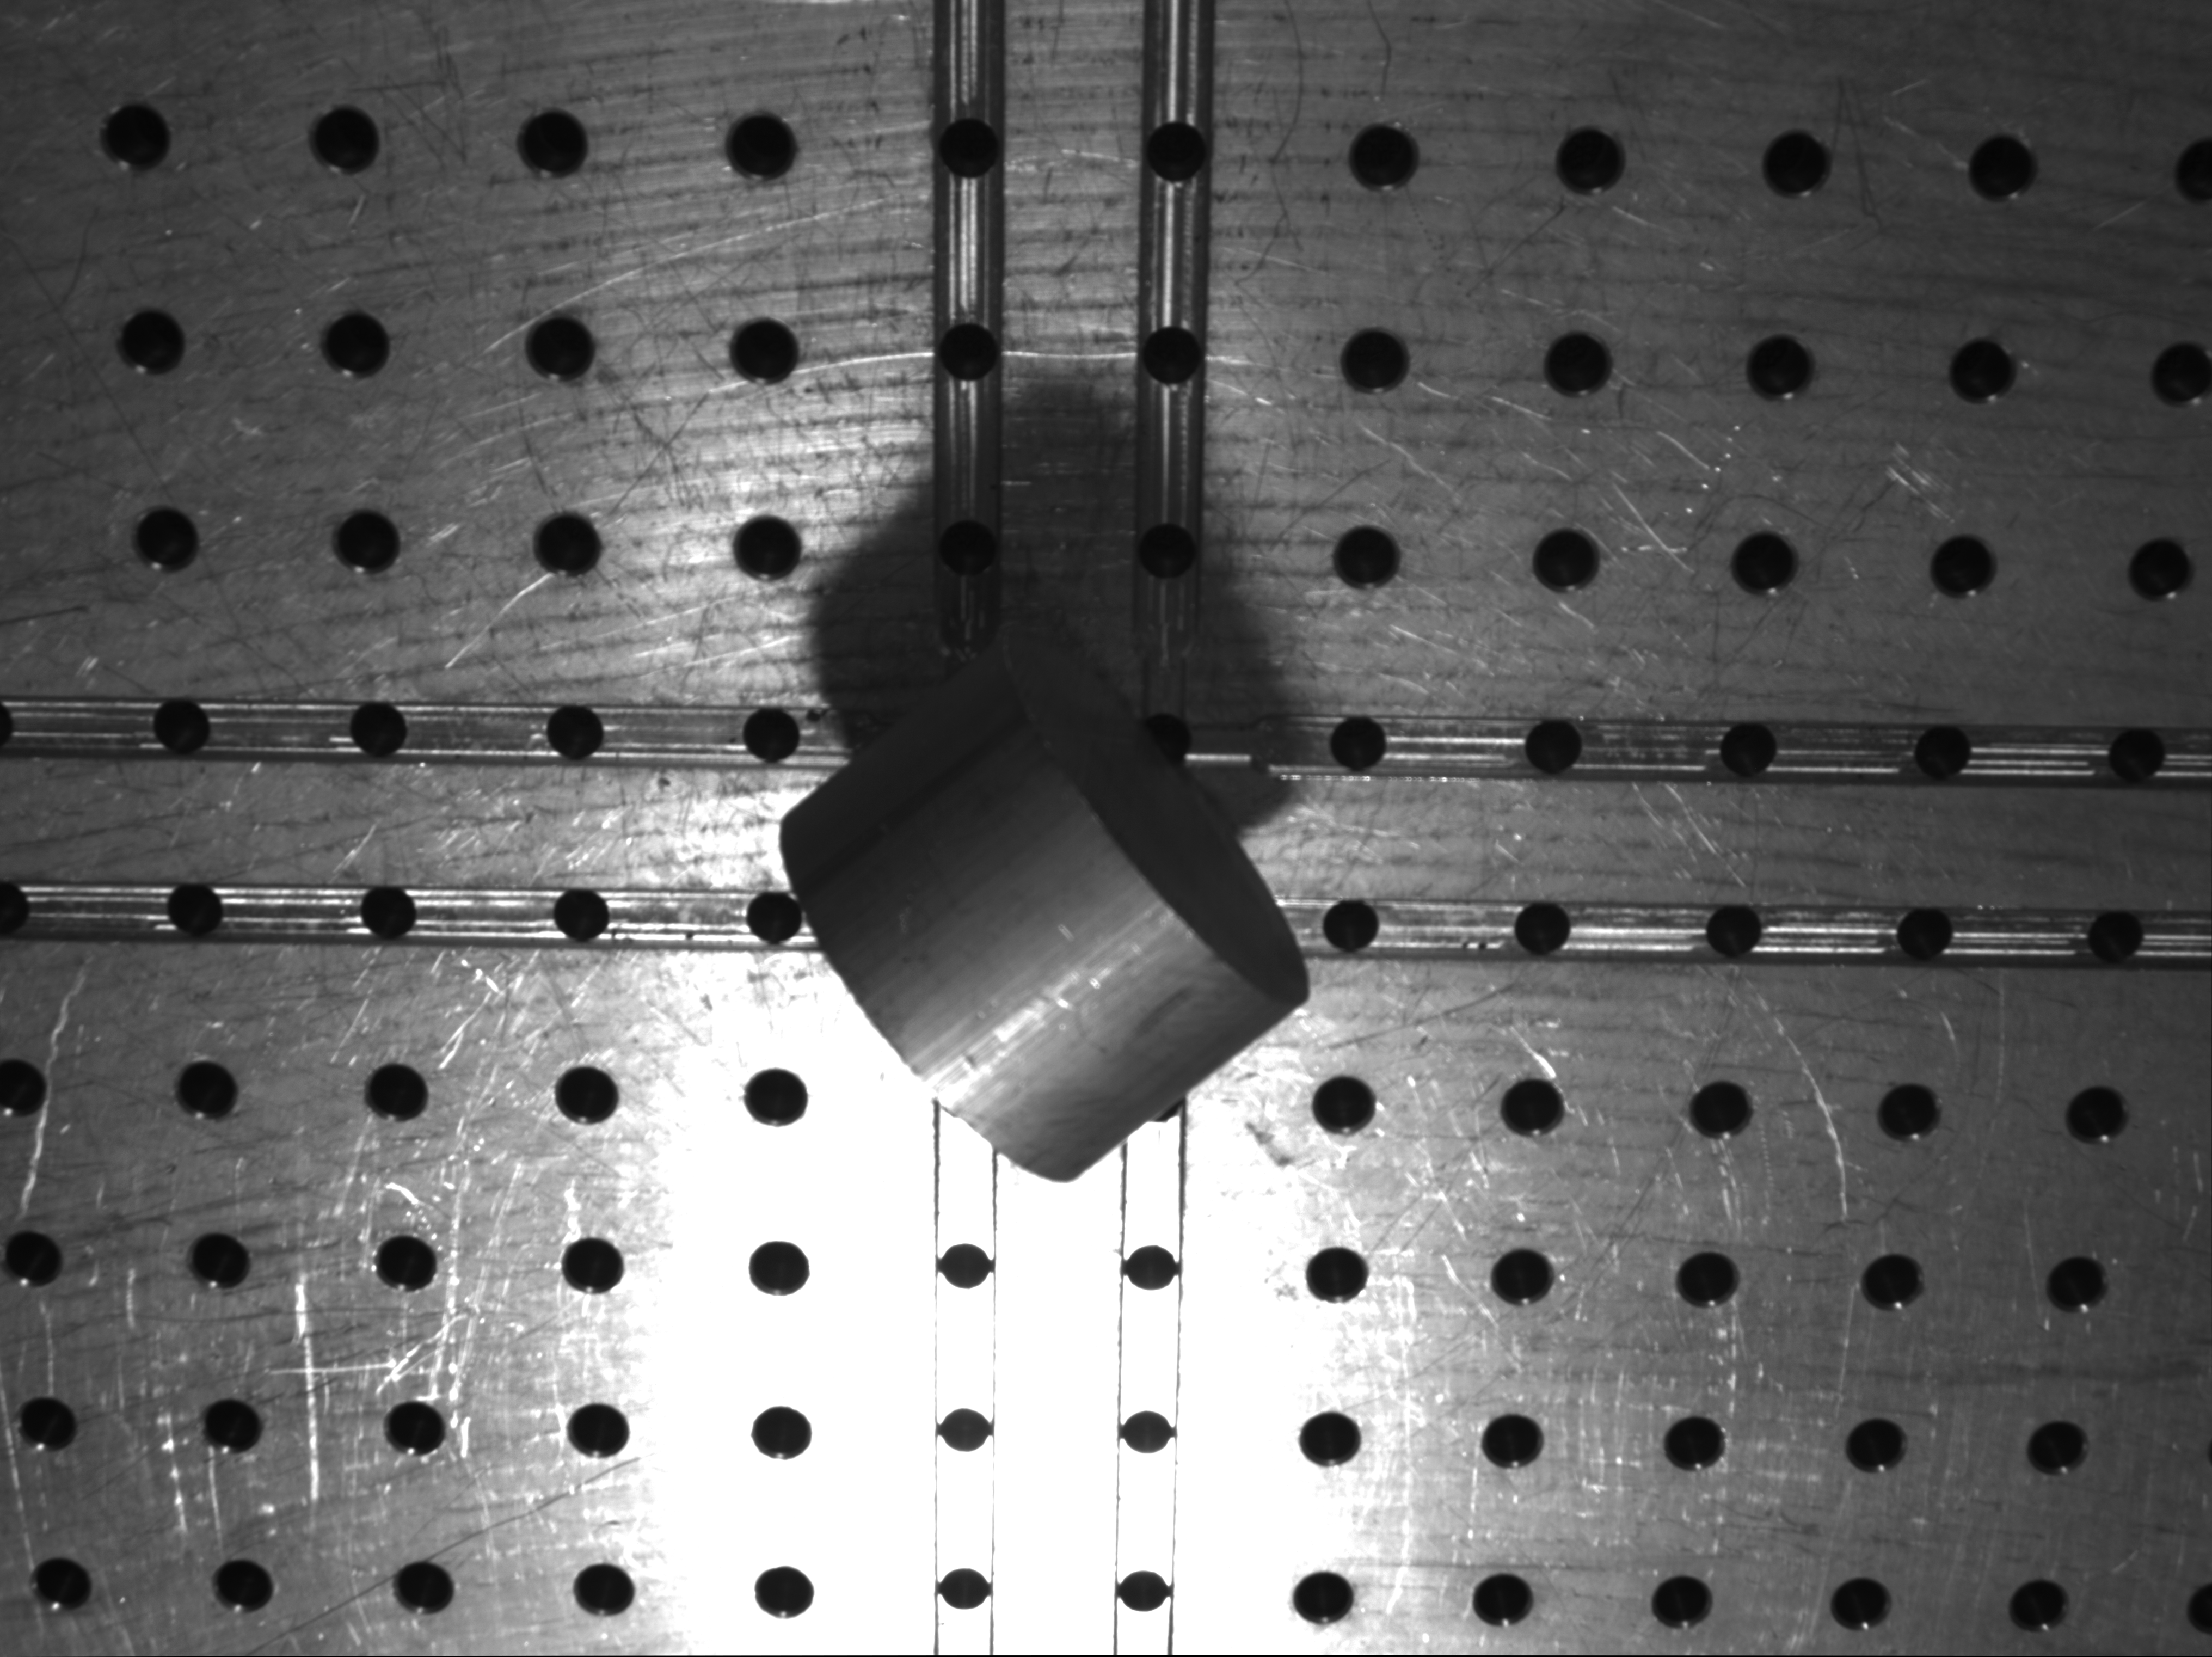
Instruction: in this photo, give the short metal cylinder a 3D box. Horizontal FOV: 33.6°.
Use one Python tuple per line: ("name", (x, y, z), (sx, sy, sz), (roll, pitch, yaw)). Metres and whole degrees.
("short metal cylinder", (-0.012, 0.013, 0.620), (0.050, 0.080, 0.080), (-38, 106, 12))
